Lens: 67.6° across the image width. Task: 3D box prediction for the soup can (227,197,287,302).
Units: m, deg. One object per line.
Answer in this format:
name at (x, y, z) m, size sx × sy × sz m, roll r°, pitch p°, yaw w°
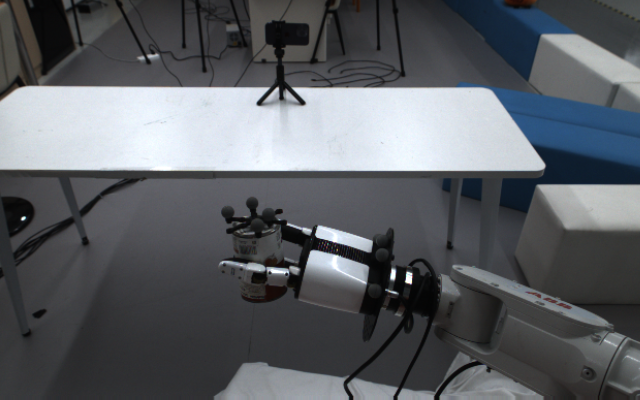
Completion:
soup can at (-0.081, 0.081, 0.661) m, size 0.067 × 0.101 × 0.067 m, roll -4°, pitch 21°, yaw 2°
